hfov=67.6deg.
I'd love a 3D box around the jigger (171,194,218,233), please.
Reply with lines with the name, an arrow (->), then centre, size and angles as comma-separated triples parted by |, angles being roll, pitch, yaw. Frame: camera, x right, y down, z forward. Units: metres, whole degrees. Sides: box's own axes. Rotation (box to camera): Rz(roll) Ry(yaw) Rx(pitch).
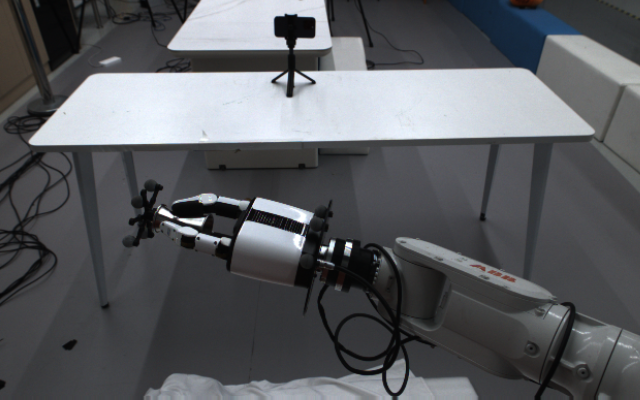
jigger -> -0.176, 0.031, 0.646 | 0.071, 0.043, 0.043 | 14, 36, 4
